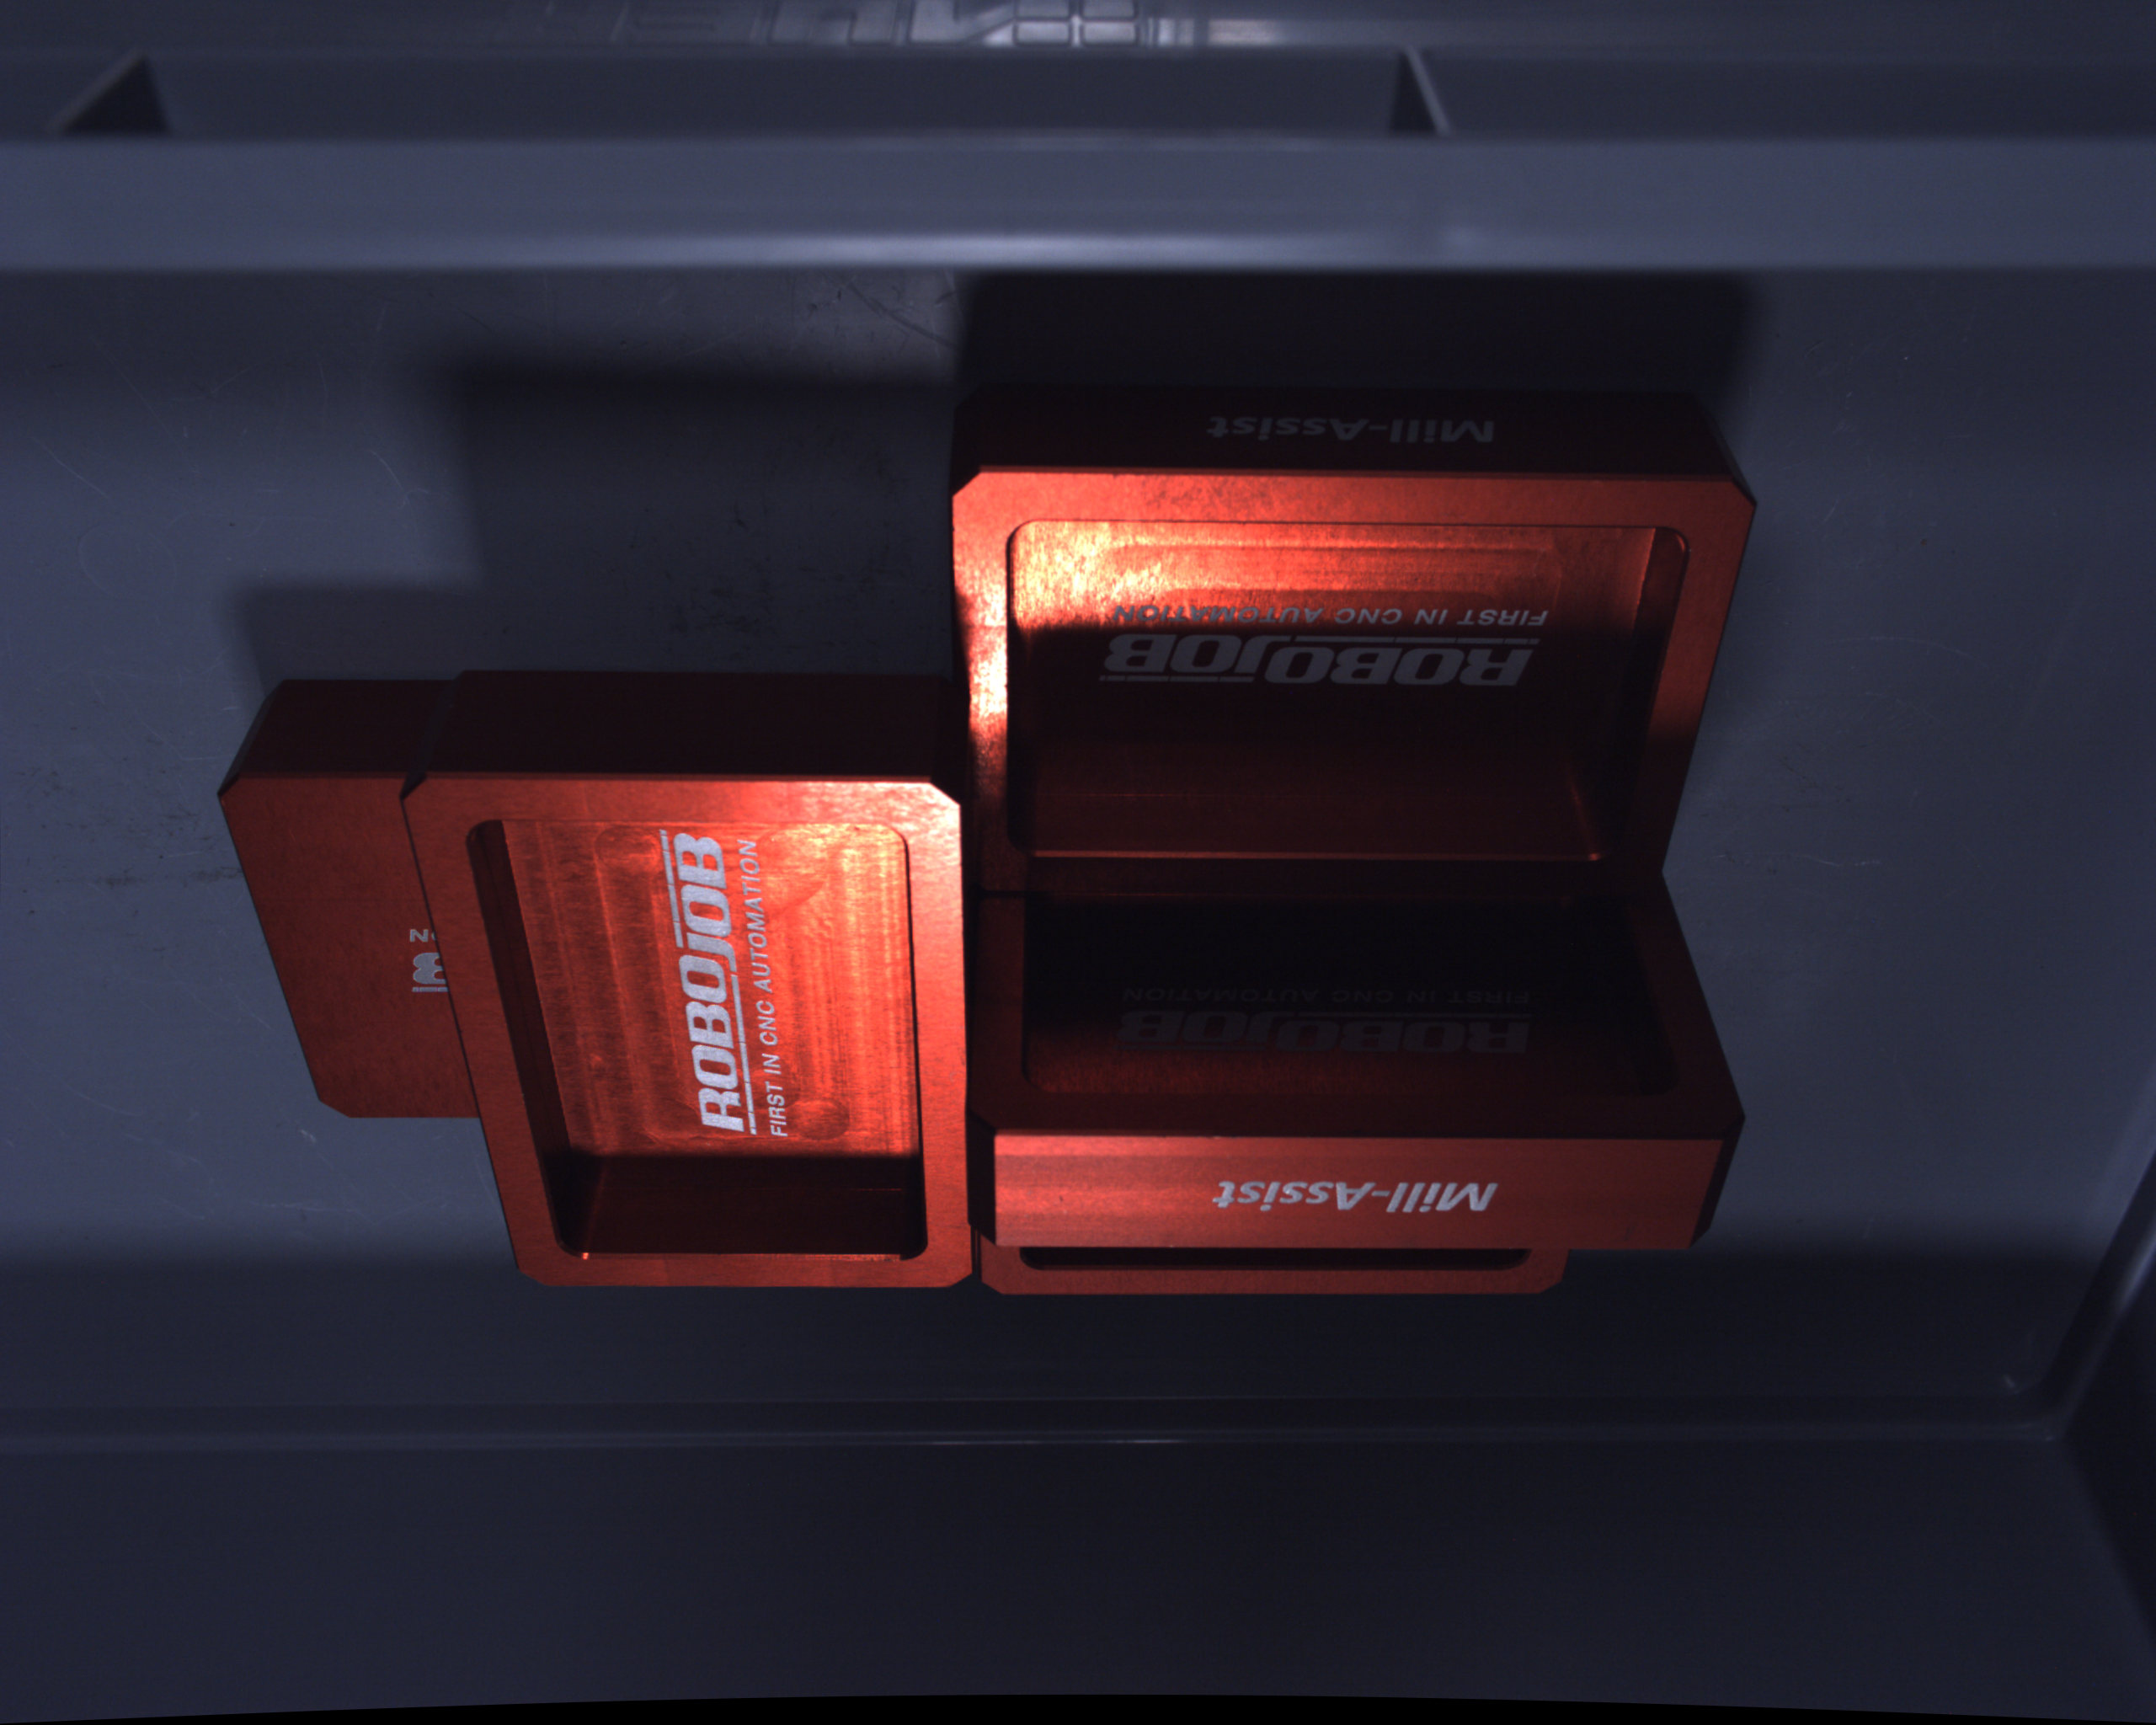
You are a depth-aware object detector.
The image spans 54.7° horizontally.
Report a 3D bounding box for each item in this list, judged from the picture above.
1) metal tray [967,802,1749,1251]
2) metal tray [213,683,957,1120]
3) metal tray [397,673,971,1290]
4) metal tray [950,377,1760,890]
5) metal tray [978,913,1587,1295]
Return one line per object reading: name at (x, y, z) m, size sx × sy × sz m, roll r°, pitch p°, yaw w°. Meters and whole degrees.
metal tray at (0.047, 0.028, 0.387) m, size 0.131 × 0.090 × 0.030 m, roll 1°, pitch 130°, yaw -1°
metal tray at (-0.089, 0.010, 0.409) m, size 0.131 × 0.030 × 0.089 m, roll 0°, pitch 130°, yaw -1°
metal tray at (-0.065, 0.027, 0.385) m, size 0.091 × 0.030 × 0.129 m, roll 1°, pitch 130°, yaw -1°
metal tray at (0.044, -0.038, 0.372) m, size 0.131 × 0.030 × 0.089 m, roll 0°, pitch 130°, yaw -1°
metal tray at (0.044, 0.054, 0.450) m, size 0.131 × 0.030 × 0.089 m, roll 0°, pitch 130°, yaw -1°
